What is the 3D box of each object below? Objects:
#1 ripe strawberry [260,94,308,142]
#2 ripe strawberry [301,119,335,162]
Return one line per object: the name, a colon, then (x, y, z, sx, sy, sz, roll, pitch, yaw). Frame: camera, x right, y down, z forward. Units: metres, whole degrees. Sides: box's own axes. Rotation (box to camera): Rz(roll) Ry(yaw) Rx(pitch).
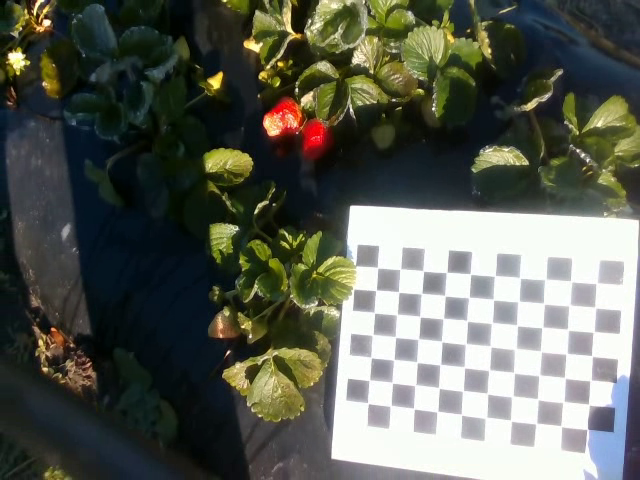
ripe strawberry: (-0.052, -0.165, 0.828, 0.069, 0.053, 0.040, -40, -4, 0)
ripe strawberry: (-0.009, -0.140, 0.806, 0.043, 0.059, 0.040, 3, -8, 13)
